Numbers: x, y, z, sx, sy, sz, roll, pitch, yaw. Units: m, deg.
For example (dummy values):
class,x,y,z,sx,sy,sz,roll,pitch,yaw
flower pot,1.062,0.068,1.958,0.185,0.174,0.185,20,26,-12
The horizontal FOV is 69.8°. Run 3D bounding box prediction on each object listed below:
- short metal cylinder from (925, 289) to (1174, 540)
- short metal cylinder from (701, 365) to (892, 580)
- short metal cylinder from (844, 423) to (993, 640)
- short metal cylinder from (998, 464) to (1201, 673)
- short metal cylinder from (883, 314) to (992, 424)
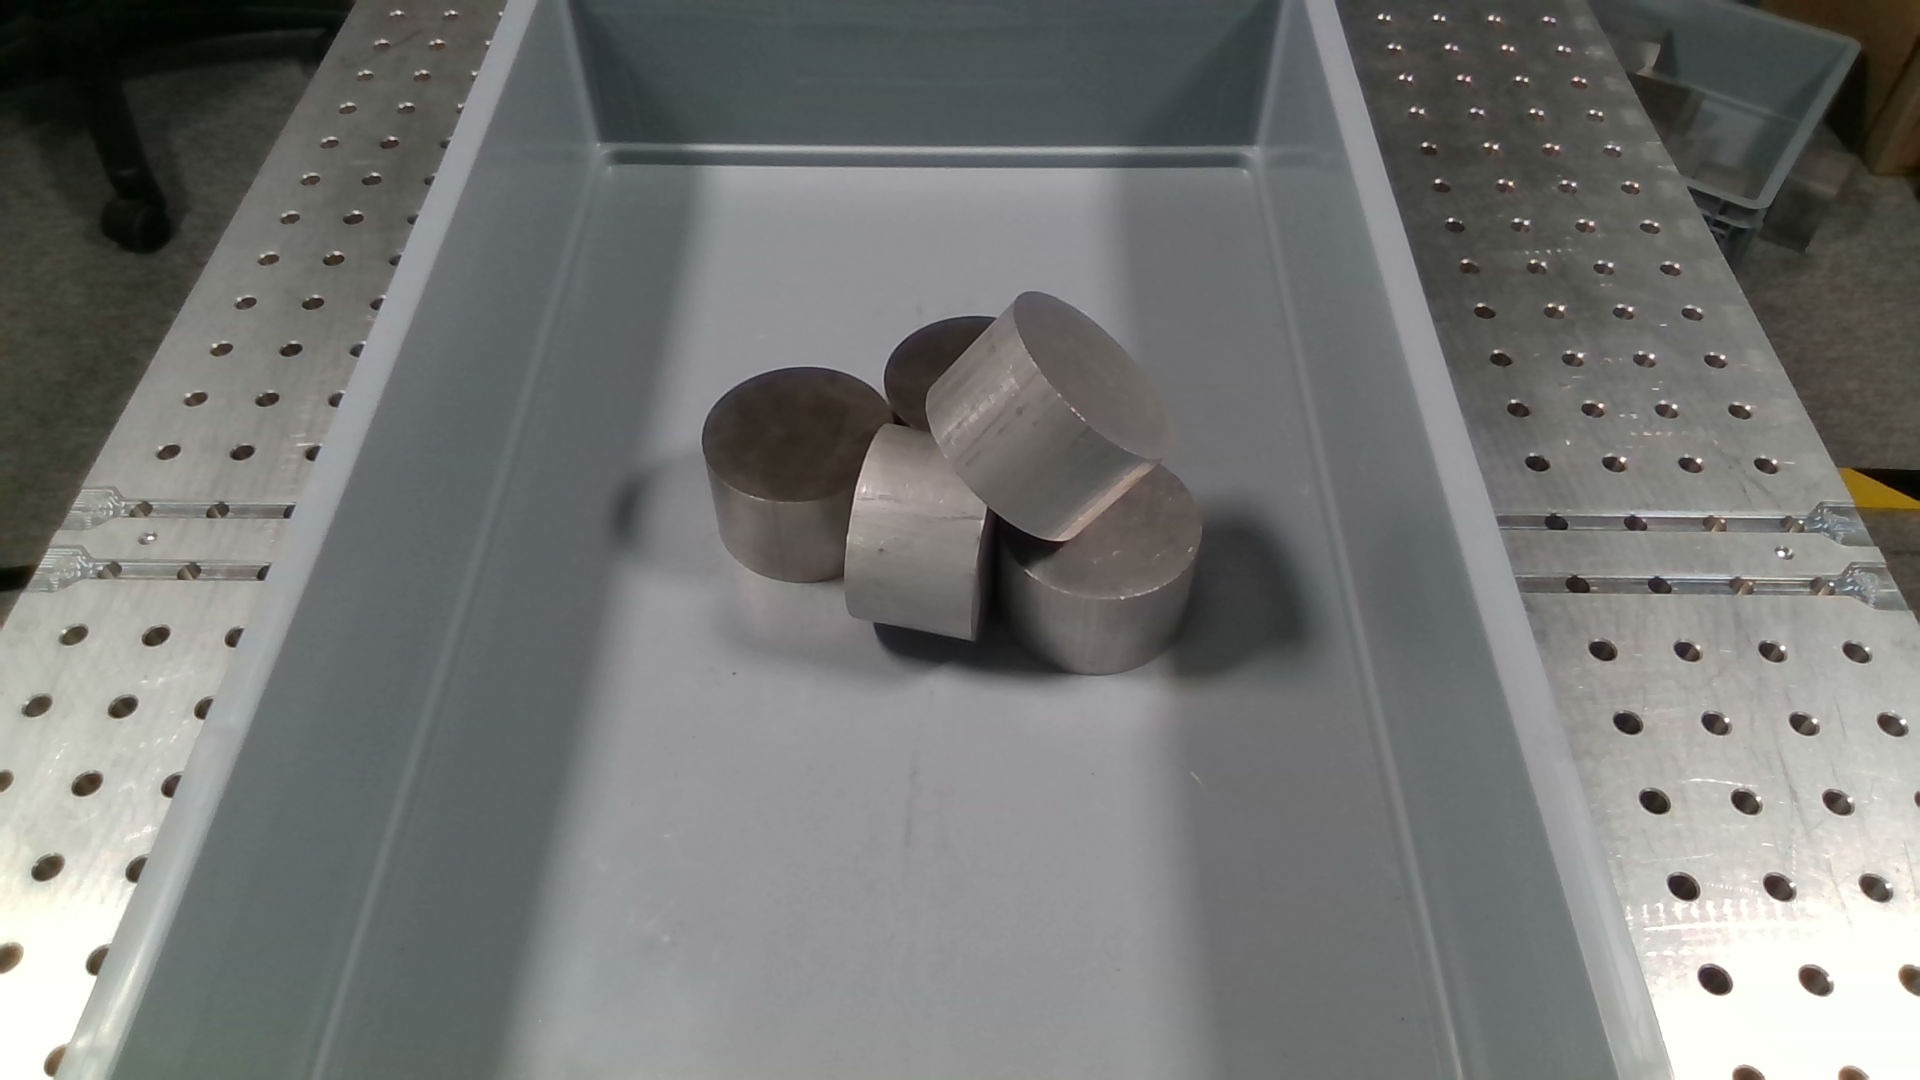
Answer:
class,x,y,z,sx,sy,sz,roll,pitch,yaw
short metal cylinder,0.034,-0.047,0.517,0.080,0.050,0.080,32,34,-25
short metal cylinder,-0.068,-0.030,0.593,0.080,0.050,0.080,0,50,0
short metal cylinder,-0.011,-0.004,0.553,0.050,0.080,0.080,10,51,9
short metal cylinder,0.055,0.007,0.563,0.080,0.050,0.080,0,50,0
short metal cylinder,0.007,-0.055,0.614,0.080,0.050,0.080,0,50,0
